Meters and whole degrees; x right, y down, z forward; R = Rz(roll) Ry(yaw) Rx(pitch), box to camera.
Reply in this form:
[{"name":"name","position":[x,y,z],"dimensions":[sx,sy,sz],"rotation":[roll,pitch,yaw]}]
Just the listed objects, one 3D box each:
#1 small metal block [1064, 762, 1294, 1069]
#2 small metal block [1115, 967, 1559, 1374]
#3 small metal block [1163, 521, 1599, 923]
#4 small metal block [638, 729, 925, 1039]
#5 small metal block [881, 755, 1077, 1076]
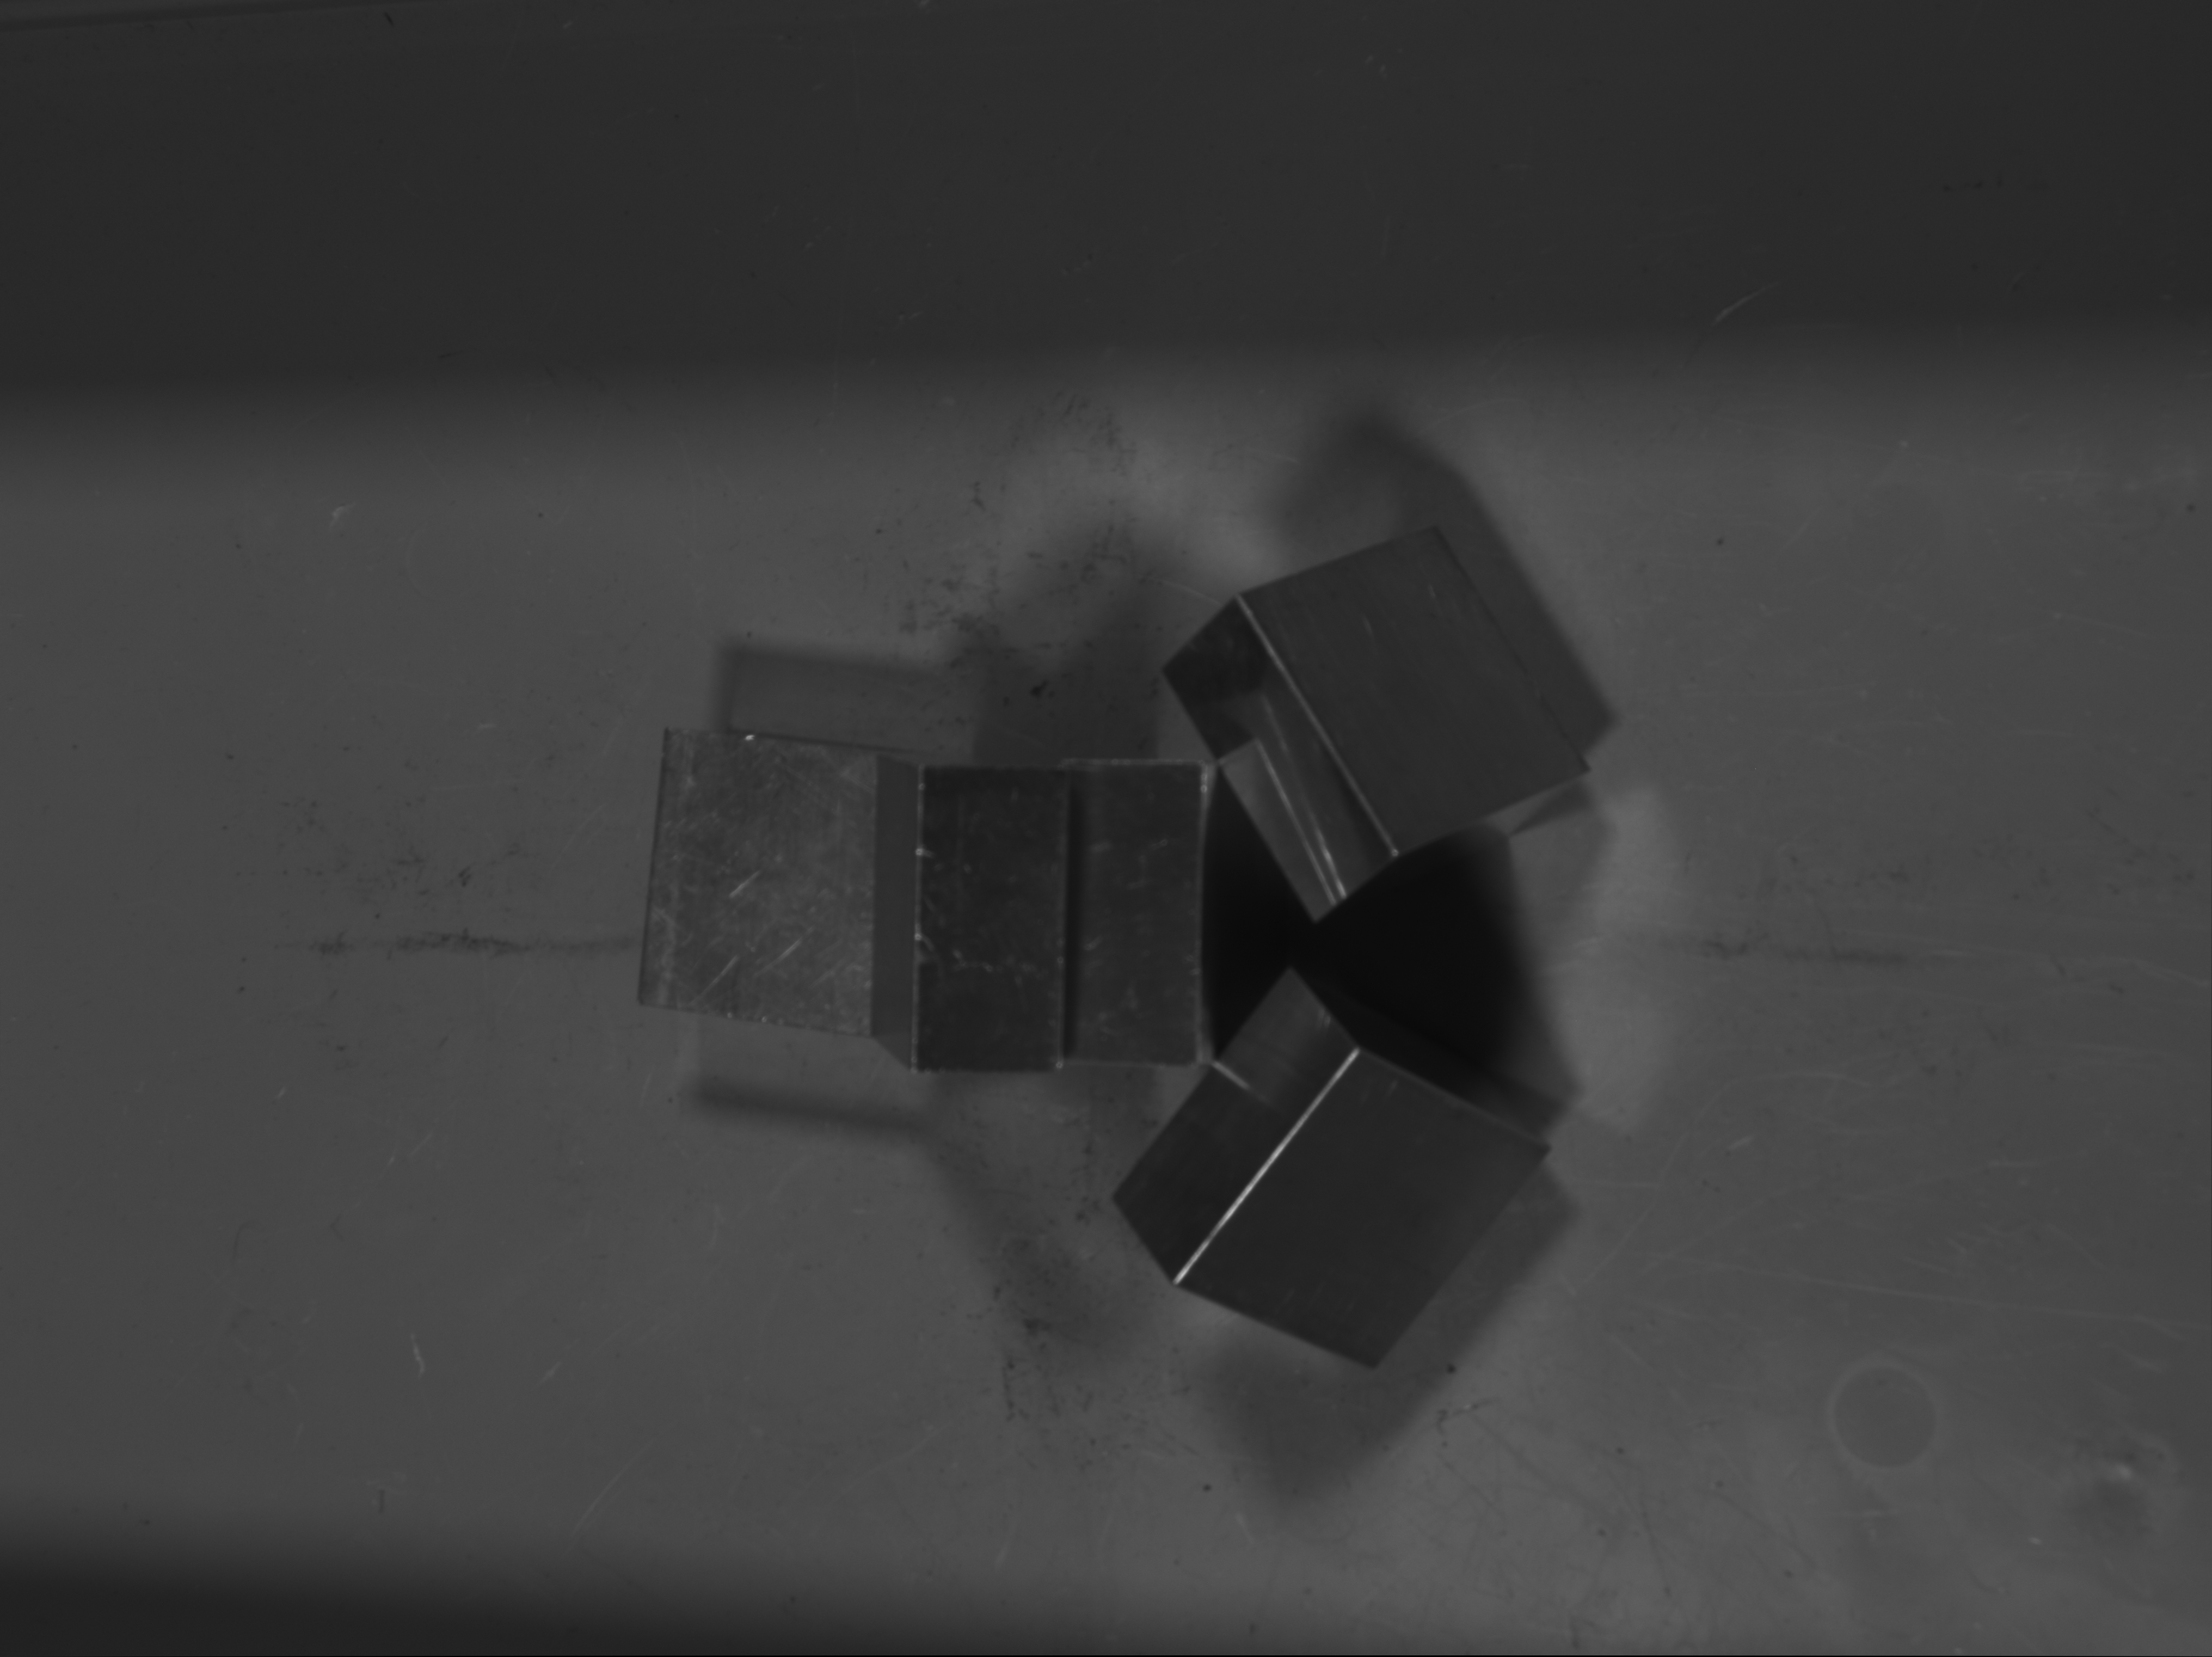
[{"name":"small metal block","position":[0.013,0.014,0.625],"dimensions":[0.025,0.050,0.050],"rotation":[1,90,20]},{"name":"small metal block","position":[0.039,0.058,0.613],"dimensions":[0.050,0.050,0.025],"rotation":[-53,39,11]},{"name":"small metal block","position":[0.046,-0.018,0.611],"dimensions":[0.050,0.050,0.025],"rotation":[59,139,10]},{"name":"small metal block","position":[-0.054,0.010,0.661],"dimensions":[0.050,0.025,0.050],"rotation":[7,92,20]},{"name":"small metal block","position":[-0.023,0.014,0.618],"dimensions":[0.025,0.050,0.050],"rotation":[1,93,-11]}]
